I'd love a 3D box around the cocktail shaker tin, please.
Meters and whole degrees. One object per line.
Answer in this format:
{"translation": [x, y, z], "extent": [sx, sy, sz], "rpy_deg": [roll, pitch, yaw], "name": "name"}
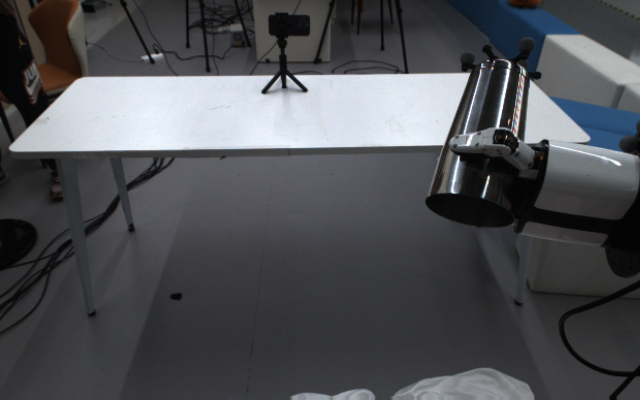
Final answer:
{"translation": [0.183, -0.064, 0.535], "extent": [0.093, 0.093, 0.170], "rpy_deg": [14, 73, 16], "name": "cocktail shaker tin"}
